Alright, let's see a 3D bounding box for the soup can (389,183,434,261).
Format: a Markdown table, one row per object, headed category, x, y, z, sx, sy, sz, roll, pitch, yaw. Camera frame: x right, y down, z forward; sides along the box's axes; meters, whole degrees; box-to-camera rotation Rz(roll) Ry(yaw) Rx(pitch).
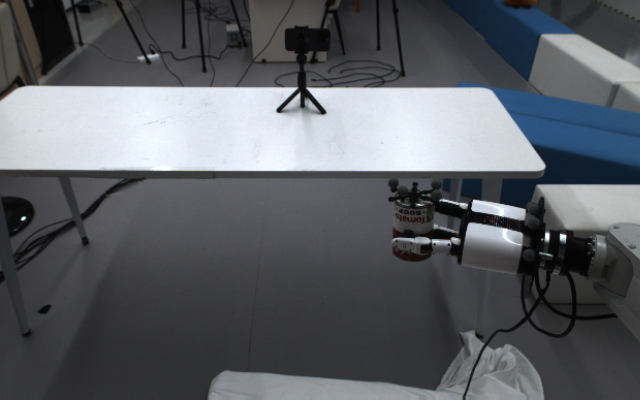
| category | x | y | z | sx | sy | sz | roll | pitch | yaw |
| --- | --- | --- | --- | --- | --- | --- | --- | --- | --- |
| soup can | 0.156 | 0.039 | 0.799 | 0.067 | 0.101 | 0.067 | -4 | 27 | 2 |
